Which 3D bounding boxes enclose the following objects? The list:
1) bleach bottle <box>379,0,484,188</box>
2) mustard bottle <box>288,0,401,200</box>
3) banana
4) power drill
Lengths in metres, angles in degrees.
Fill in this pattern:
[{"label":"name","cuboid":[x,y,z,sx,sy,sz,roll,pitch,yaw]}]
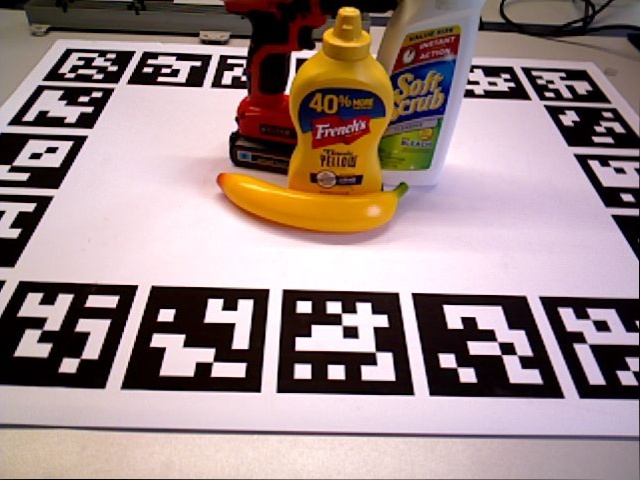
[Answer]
[{"label":"bleach bottle","cuboid":[0.093,-0.172,0.513,0.102,0.256,0.066,4,39,0]},{"label":"mustard bottle","cuboid":[0.022,-0.117,0.488,0.096,0.196,0.057,3,45,-3]},{"label":"banana","cuboid":[-0.003,-0.035,0.529,0.197,0.040,0.073,4,46,4]},{"label":"power drill","cuboid":[-0.018,-0.183,0.522,0.184,0.191,0.056,12,44,6]}]
